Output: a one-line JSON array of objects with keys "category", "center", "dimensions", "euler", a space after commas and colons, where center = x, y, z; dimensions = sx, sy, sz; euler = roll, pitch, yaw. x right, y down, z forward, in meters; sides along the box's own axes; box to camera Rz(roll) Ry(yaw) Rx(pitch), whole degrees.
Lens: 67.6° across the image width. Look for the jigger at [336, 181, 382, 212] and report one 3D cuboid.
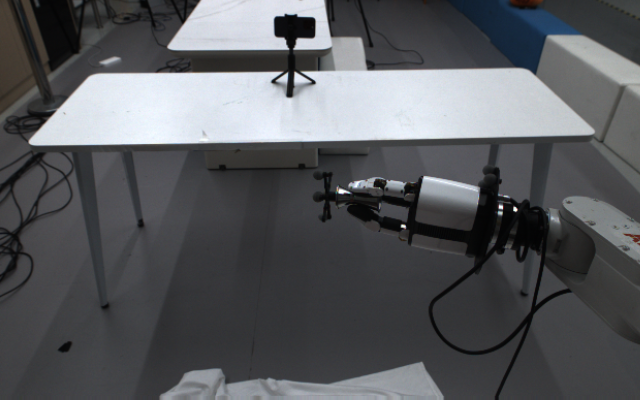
[{"category": "jigger", "center": [0.068, -0.008, 0.764], "dimensions": [0.071, 0.043, 0.043], "euler": [2, 34, 12]}]
